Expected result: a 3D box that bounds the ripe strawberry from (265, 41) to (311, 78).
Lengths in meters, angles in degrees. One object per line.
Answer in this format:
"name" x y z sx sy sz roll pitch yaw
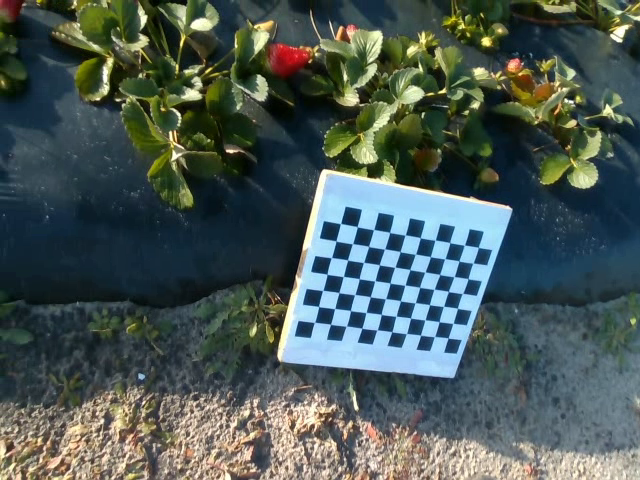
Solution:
"ripe strawberry" -0.042 -0.250 0.859 0.072 0.057 0.055 -11 25 -3
